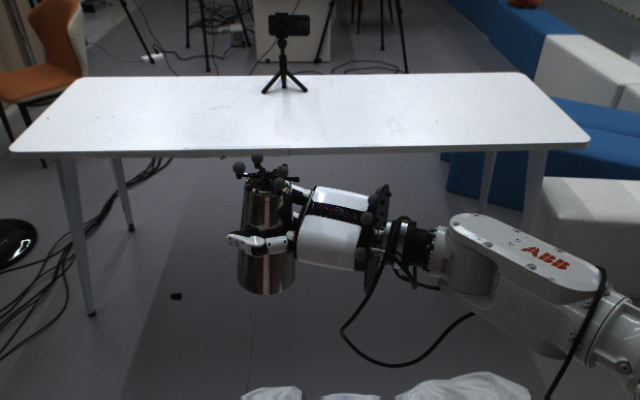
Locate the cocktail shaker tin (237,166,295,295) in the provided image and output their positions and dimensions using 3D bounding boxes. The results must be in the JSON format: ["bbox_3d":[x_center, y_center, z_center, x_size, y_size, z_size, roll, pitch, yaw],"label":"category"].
[{"bbox_3d":[-0.079,0.046,0.719,0.093,0.170,0.093,4,32,-2],"label":"cocktail shaker tin"}]
